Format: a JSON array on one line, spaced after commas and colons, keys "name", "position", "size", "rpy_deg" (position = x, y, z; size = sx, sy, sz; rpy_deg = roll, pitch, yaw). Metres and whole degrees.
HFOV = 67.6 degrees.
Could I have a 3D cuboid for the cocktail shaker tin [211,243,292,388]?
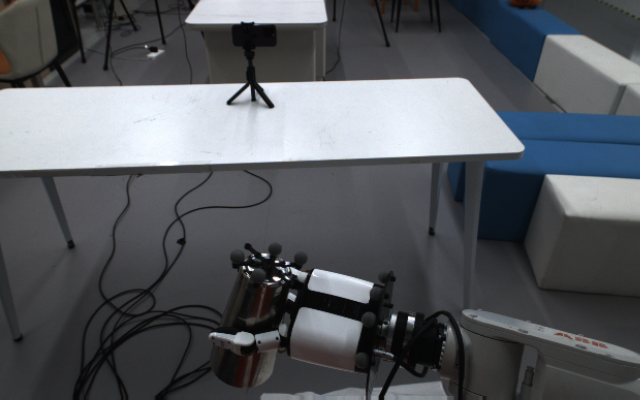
[{"name": "cocktail shaker tin", "position": [-0.086, 0.156, 0.645], "size": [0.093, 0.170, 0.093], "rpy_deg": [12, 29, -7]}]
